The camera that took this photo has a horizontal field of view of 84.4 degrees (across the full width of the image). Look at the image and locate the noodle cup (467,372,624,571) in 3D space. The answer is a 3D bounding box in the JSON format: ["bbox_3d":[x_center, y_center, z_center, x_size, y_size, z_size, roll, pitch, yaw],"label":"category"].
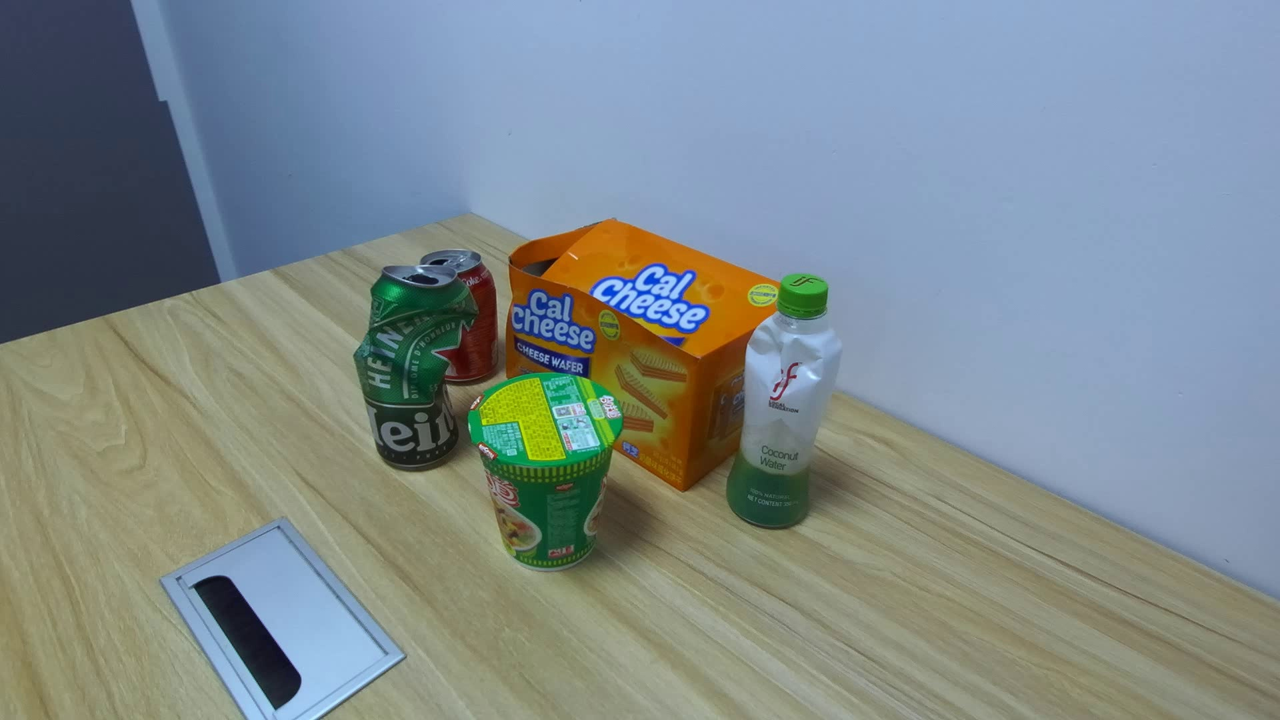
[{"bbox_3d":[-0.062,0.081,0.481,0.097,0.110,0.097,2,33,-1],"label":"noodle cup"}]

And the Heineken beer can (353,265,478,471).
[{"bbox_3d":[-0.173,0.007,0.544,0.067,0.159,0.079,15,27,12],"label":"Heineken beer can"}]

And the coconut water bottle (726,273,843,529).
[{"bbox_3d":[0.100,0.030,0.493,0.069,0.186,0.069,1,32,0],"label":"coconut water bottle"}]

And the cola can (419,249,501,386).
[{"bbox_3d":[-0.168,-0.041,0.654,0.065,0.117,0.066,21,37,29],"label":"cola can"}]

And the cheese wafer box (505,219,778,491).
[{"bbox_3d":[0.000,-0.018,0.618,0.229,0.132,0.153,29,42,32],"label":"cheese wafer box"}]
